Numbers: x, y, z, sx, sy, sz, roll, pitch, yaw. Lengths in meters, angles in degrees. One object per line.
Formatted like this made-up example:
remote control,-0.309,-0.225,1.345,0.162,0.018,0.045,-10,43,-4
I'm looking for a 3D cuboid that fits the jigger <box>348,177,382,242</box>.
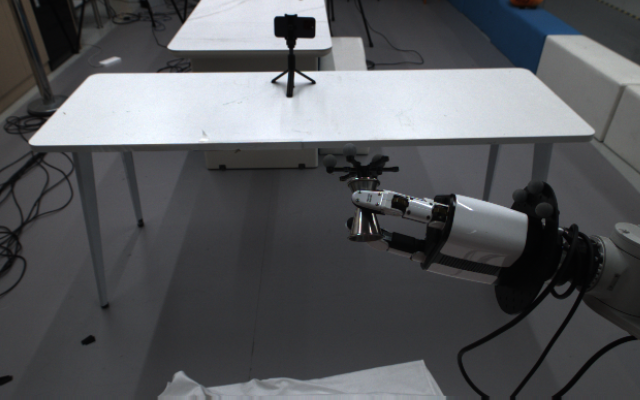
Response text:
jigger,0.054,0.010,0.569,0.043,0.043,0.071,0,75,-3
